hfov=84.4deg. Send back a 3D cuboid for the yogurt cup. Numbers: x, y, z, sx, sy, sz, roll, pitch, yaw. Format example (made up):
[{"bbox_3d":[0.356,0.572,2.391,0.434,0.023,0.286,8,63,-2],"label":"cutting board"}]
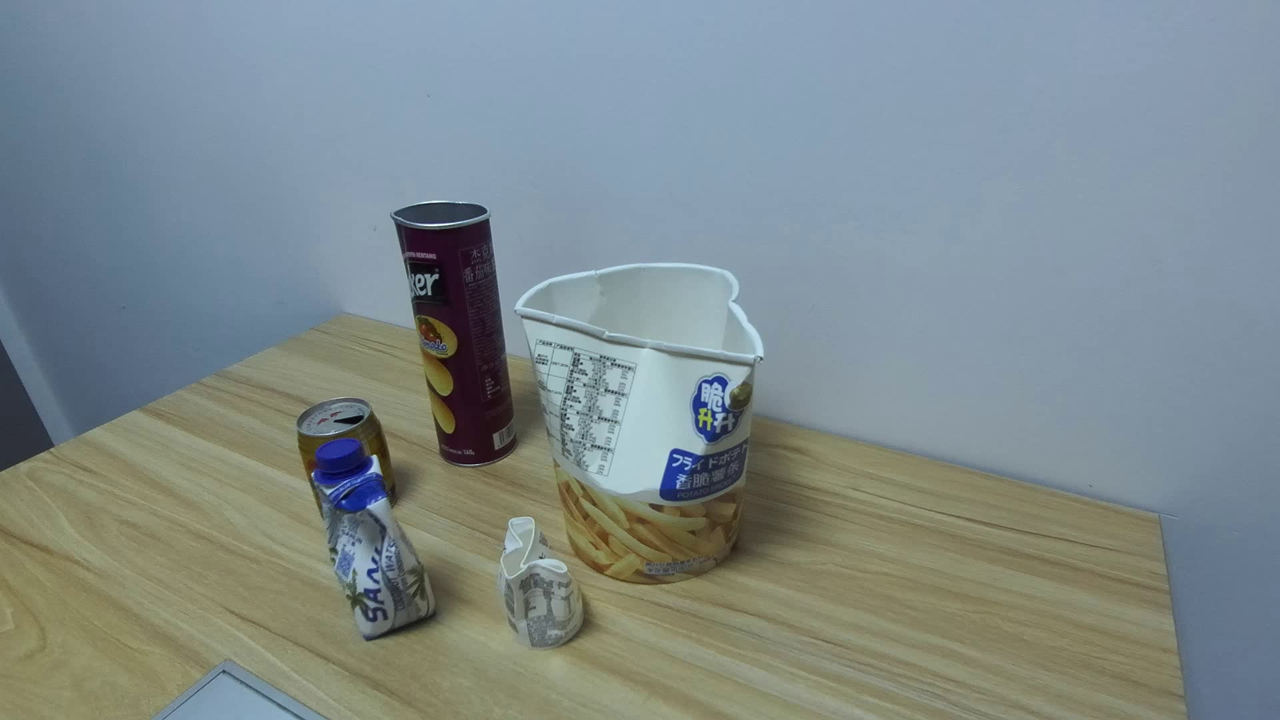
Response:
[{"bbox_3d":[-0.070,0.153,0.484,0.055,0.072,0.055,-5,30,0],"label":"yogurt cup"}]

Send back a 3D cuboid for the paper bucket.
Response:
[{"bbox_3d":[-0.001,0.049,0.545,0.162,0.202,0.169,-3,25,0],"label":"paper bucket"}]

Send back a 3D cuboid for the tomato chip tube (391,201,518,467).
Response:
[{"bbox_3d":[-0.162,-0.020,0.644,0.077,0.234,0.080,-14,30,-21],"label":"tomato chip tube"}]

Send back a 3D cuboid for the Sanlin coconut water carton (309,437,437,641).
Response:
[{"bbox_3d":[-0.184,0.124,0.474,0.057,0.145,0.068,-22,40,-19],"label":"Sanlin coconut water carton"}]

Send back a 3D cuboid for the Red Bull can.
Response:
[{"bbox_3d":[-0.251,0.086,0.602,0.068,0.093,0.068,-2,28,1],"label":"Red Bull can"}]
